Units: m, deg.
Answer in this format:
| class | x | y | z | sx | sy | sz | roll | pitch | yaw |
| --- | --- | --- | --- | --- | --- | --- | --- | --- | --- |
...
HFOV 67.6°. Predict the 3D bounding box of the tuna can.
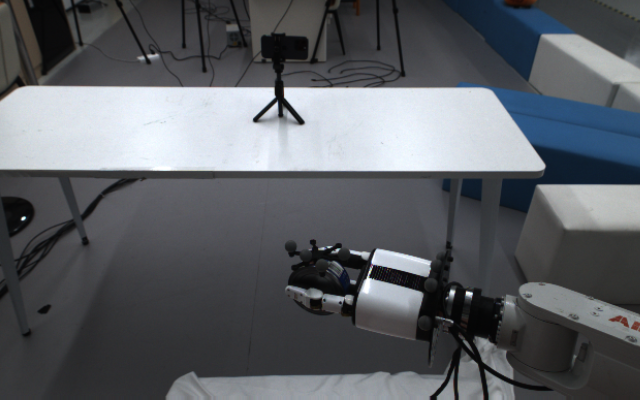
| class | x | y | z | sx | sy | sz | roll | pitch | yaw |
| --- | --- | --- | --- | --- | --- | --- | --- | --- | --- |
| tuna can | 0.002 | 0.121 | 0.698 | 0.085 | 0.085 | 0.034 | 14 | 29 | 16 |
